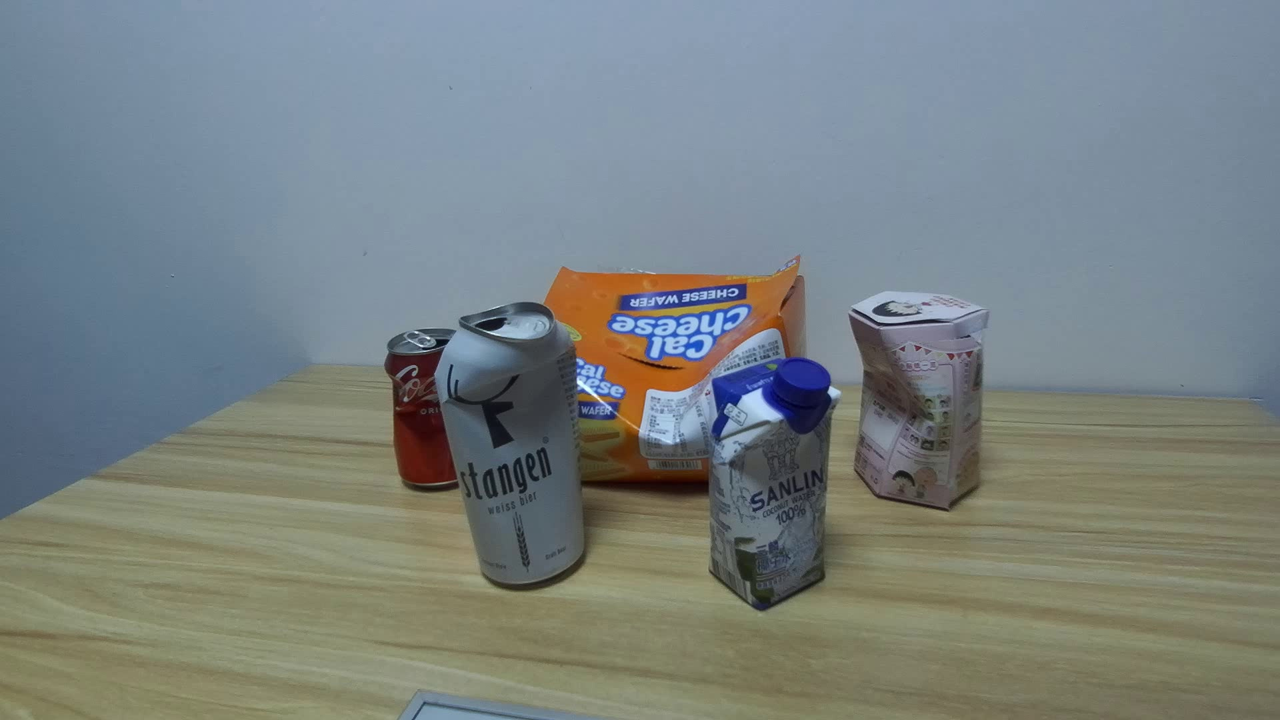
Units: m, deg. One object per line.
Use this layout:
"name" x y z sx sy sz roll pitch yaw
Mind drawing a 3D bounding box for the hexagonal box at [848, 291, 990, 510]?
"hexagonal box" 0.193 0.027 0.498 0.090 0.134 0.091 6 21 31

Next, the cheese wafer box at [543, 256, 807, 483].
"cheese wafer box" 0.026 0.006 0.560 0.219 0.145 0.191 0 19 8

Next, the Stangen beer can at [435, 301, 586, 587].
"Stangen beer can" -0.072 0.051 0.420 0.066 0.162 0.077 0 21 8

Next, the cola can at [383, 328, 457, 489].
"cola can" -0.169 0.043 0.576 0.067 0.117 0.065 -12 12 -33
